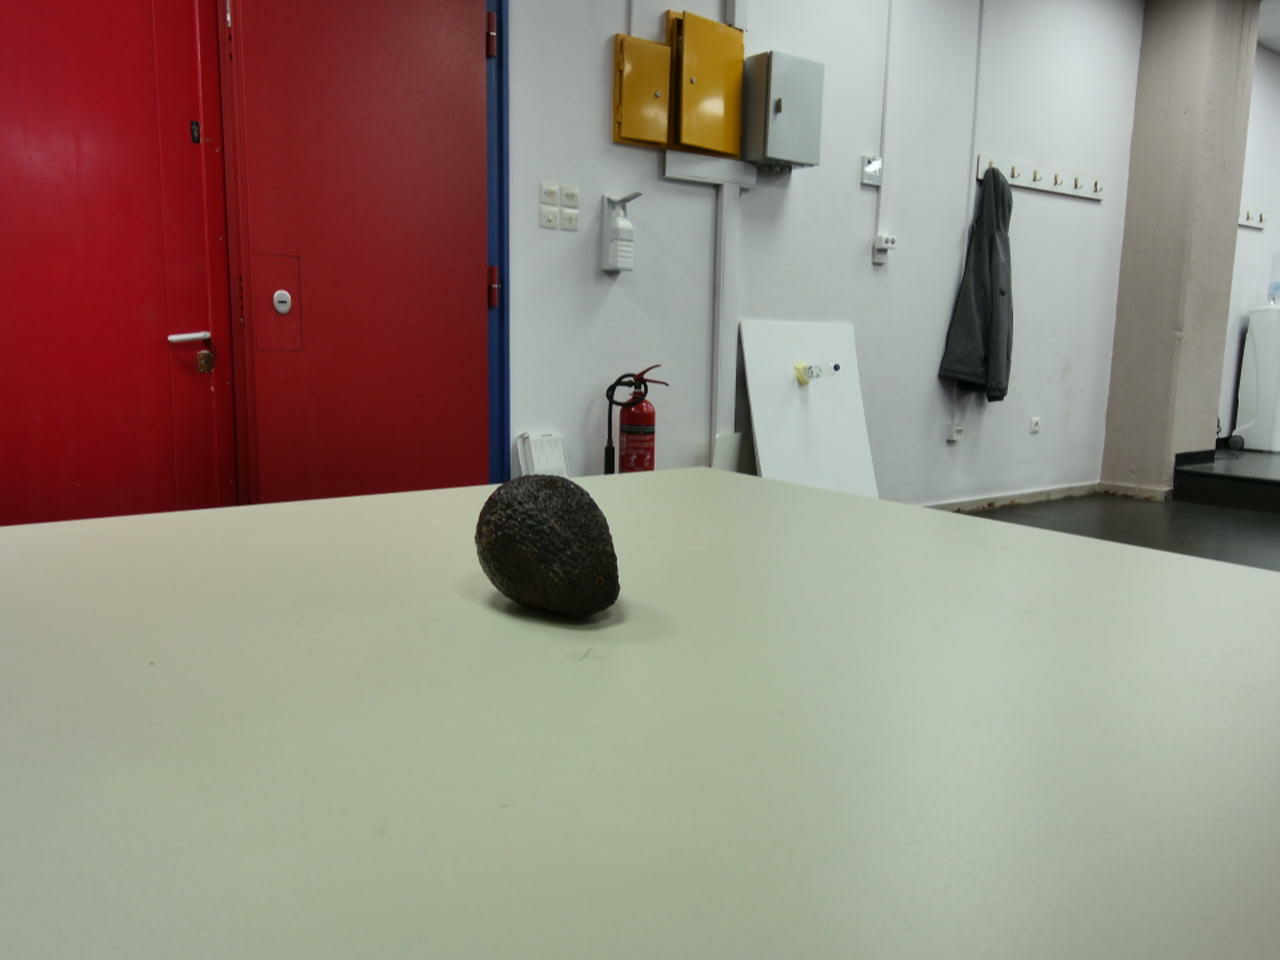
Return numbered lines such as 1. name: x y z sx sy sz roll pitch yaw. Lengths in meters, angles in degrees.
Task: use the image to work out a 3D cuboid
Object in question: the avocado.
1. avocado: -0.049 0.032 0.518 0.070 0.069 0.090 -1 6 -12
